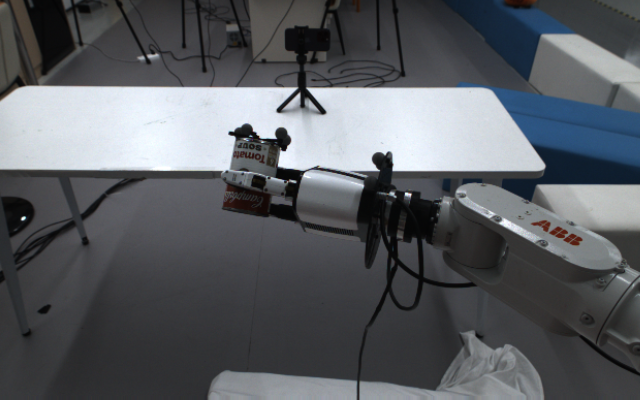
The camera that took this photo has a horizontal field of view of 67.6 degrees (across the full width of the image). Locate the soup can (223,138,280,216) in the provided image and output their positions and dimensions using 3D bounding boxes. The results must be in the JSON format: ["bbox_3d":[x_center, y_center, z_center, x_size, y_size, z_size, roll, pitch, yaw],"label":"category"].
[{"bbox_3d":[-0.097,-0.030,0.688,0.067,0.101,0.067,9,-5,1],"label":"soup can"}]
